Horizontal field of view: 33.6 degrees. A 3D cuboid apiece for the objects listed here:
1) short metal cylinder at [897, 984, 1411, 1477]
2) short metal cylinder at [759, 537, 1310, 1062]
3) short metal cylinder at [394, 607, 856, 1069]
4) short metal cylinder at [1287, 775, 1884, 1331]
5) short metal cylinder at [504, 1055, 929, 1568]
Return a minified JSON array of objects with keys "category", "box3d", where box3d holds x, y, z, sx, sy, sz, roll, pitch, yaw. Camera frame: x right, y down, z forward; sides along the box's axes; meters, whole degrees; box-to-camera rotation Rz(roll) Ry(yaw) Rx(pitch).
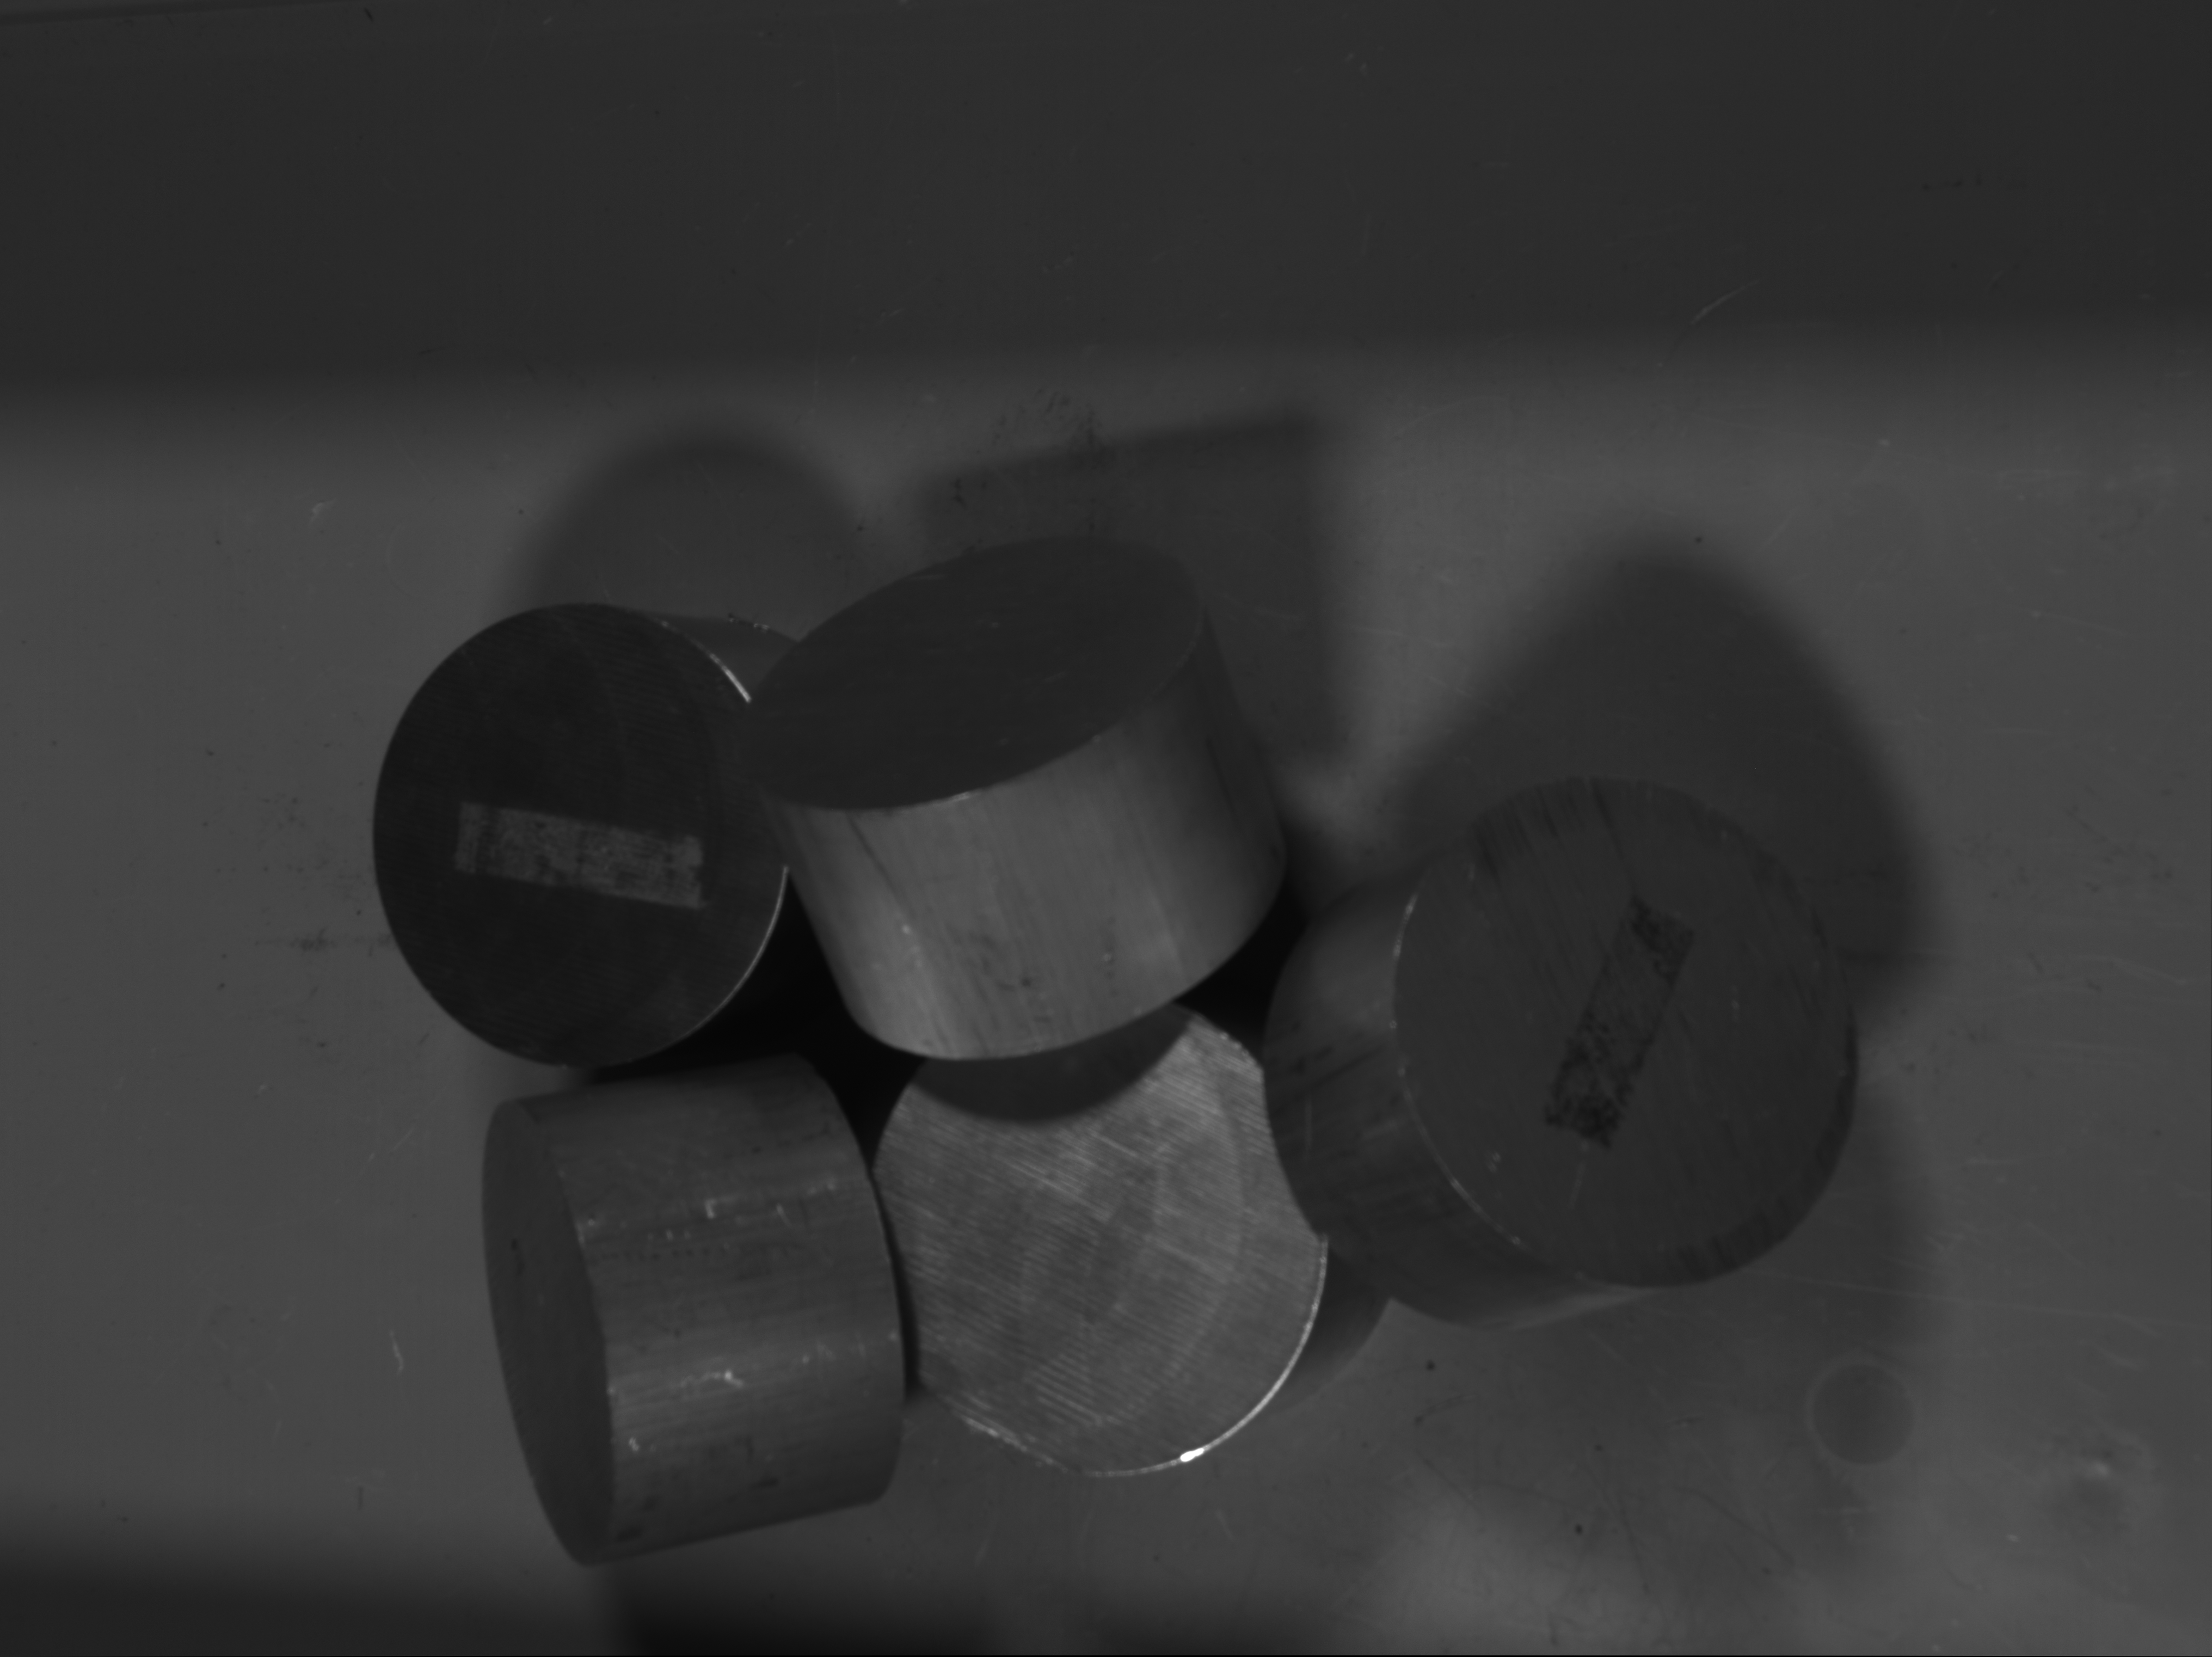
[{"category":"short metal cylinder","box3d":[0.010,0.067,0.626,0.080,0.050,0.080,0,90,20]},{"category":"short metal cylinder","box3d":[-0.011,-0.006,0.610,0.080,0.080,0.050,-9,122,19]},{"category":"short metal cylinder","box3d":[-0.080,0.002,0.657,0.080,0.050,0.080,0,90,20]},{"category":"short metal cylinder","box3d":[0.075,0.037,0.581,0.080,0.050,0.080,5,74,-19]},{"category":"short metal cylinder","box3d":[-0.068,0.082,0.631,0.050,0.080,0.080,-9,86,-23]}]
